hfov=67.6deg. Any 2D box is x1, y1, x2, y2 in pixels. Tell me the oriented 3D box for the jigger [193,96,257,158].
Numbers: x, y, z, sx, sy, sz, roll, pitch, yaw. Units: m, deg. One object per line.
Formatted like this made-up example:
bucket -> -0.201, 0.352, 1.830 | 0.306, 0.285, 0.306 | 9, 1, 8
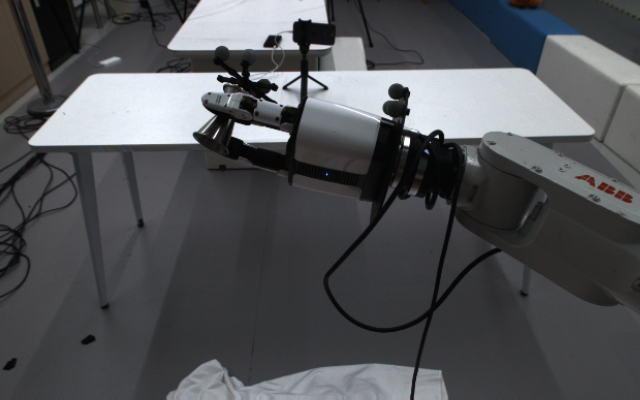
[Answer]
jigger -> -0.106, -0.092, 0.539 | 0.043, 0.043, 0.071 | 19, 72, 23
